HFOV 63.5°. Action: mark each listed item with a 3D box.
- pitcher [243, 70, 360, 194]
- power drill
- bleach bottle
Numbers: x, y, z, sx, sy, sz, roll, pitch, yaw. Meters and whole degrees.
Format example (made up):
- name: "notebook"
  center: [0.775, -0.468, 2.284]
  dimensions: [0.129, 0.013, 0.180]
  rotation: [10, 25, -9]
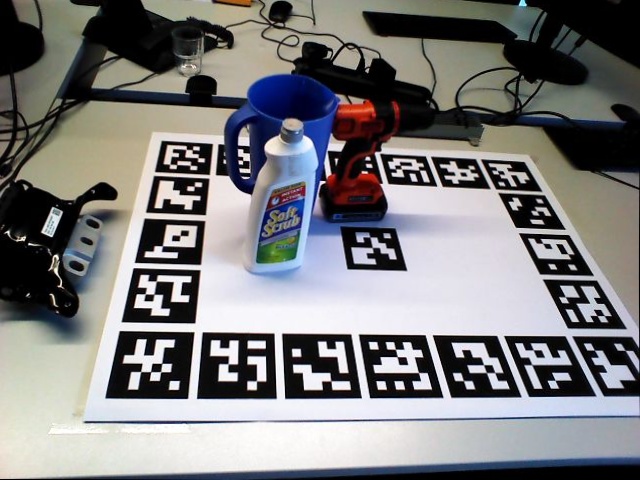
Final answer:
- name: "pitcher"
  center: [-0.033, -0.127, 0.812]
  dimensions: [0.188, 0.244, 0.133]
  rotation: [-20, 54, -26]
- name: "power drill"
  center: [0.130, -0.130, 0.857]
  dimensions: [0.184, 0.188, 0.057]
  rotation: [1, 49, -17]
- name: "bleach bottle"
  center: [-0.032, -0.068, 0.727]
  dimensions: [0.102, 0.252, 0.067]
  rotation: [-5, 48, -14]
